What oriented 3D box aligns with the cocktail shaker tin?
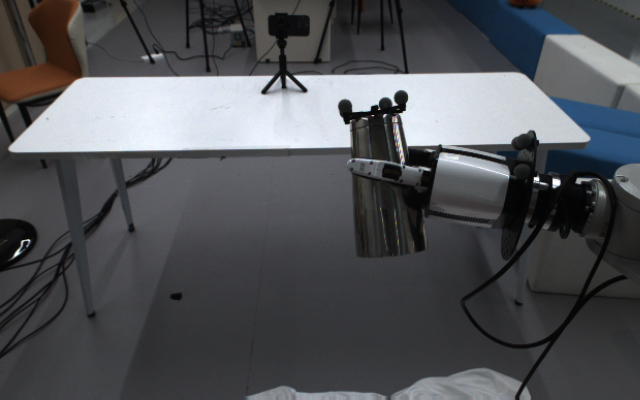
[{"bbox_3d":[0.082,-0.019,0.617,0.093,0.170,0.093,-8,1,0],"label":"cocktail shaker tin"}]
